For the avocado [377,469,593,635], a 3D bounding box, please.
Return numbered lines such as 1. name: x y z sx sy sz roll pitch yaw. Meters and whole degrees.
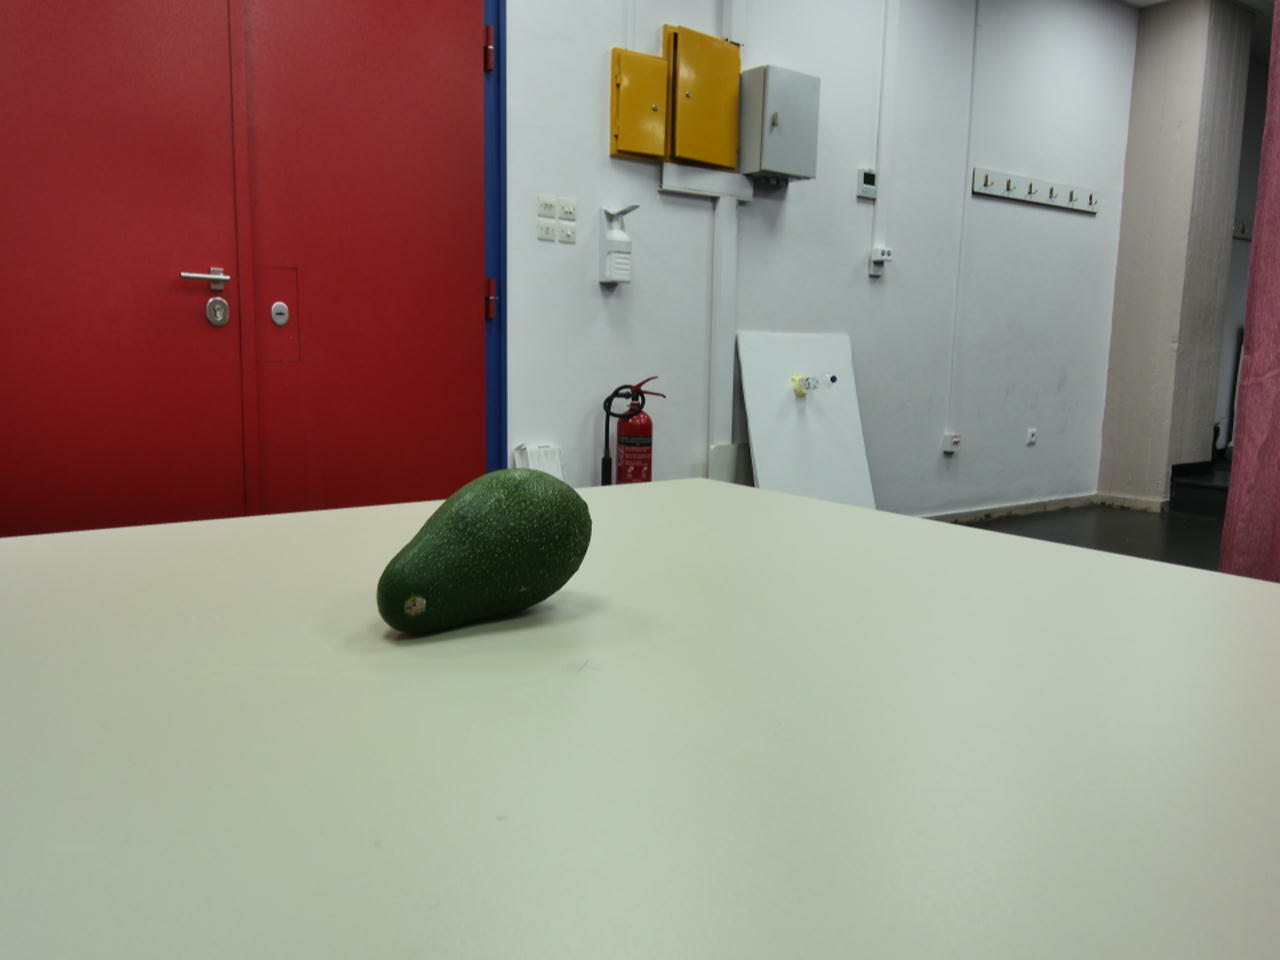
1. avocado: -0.082 0.032 0.518 0.123 0.076 0.074 -3 7 -31
